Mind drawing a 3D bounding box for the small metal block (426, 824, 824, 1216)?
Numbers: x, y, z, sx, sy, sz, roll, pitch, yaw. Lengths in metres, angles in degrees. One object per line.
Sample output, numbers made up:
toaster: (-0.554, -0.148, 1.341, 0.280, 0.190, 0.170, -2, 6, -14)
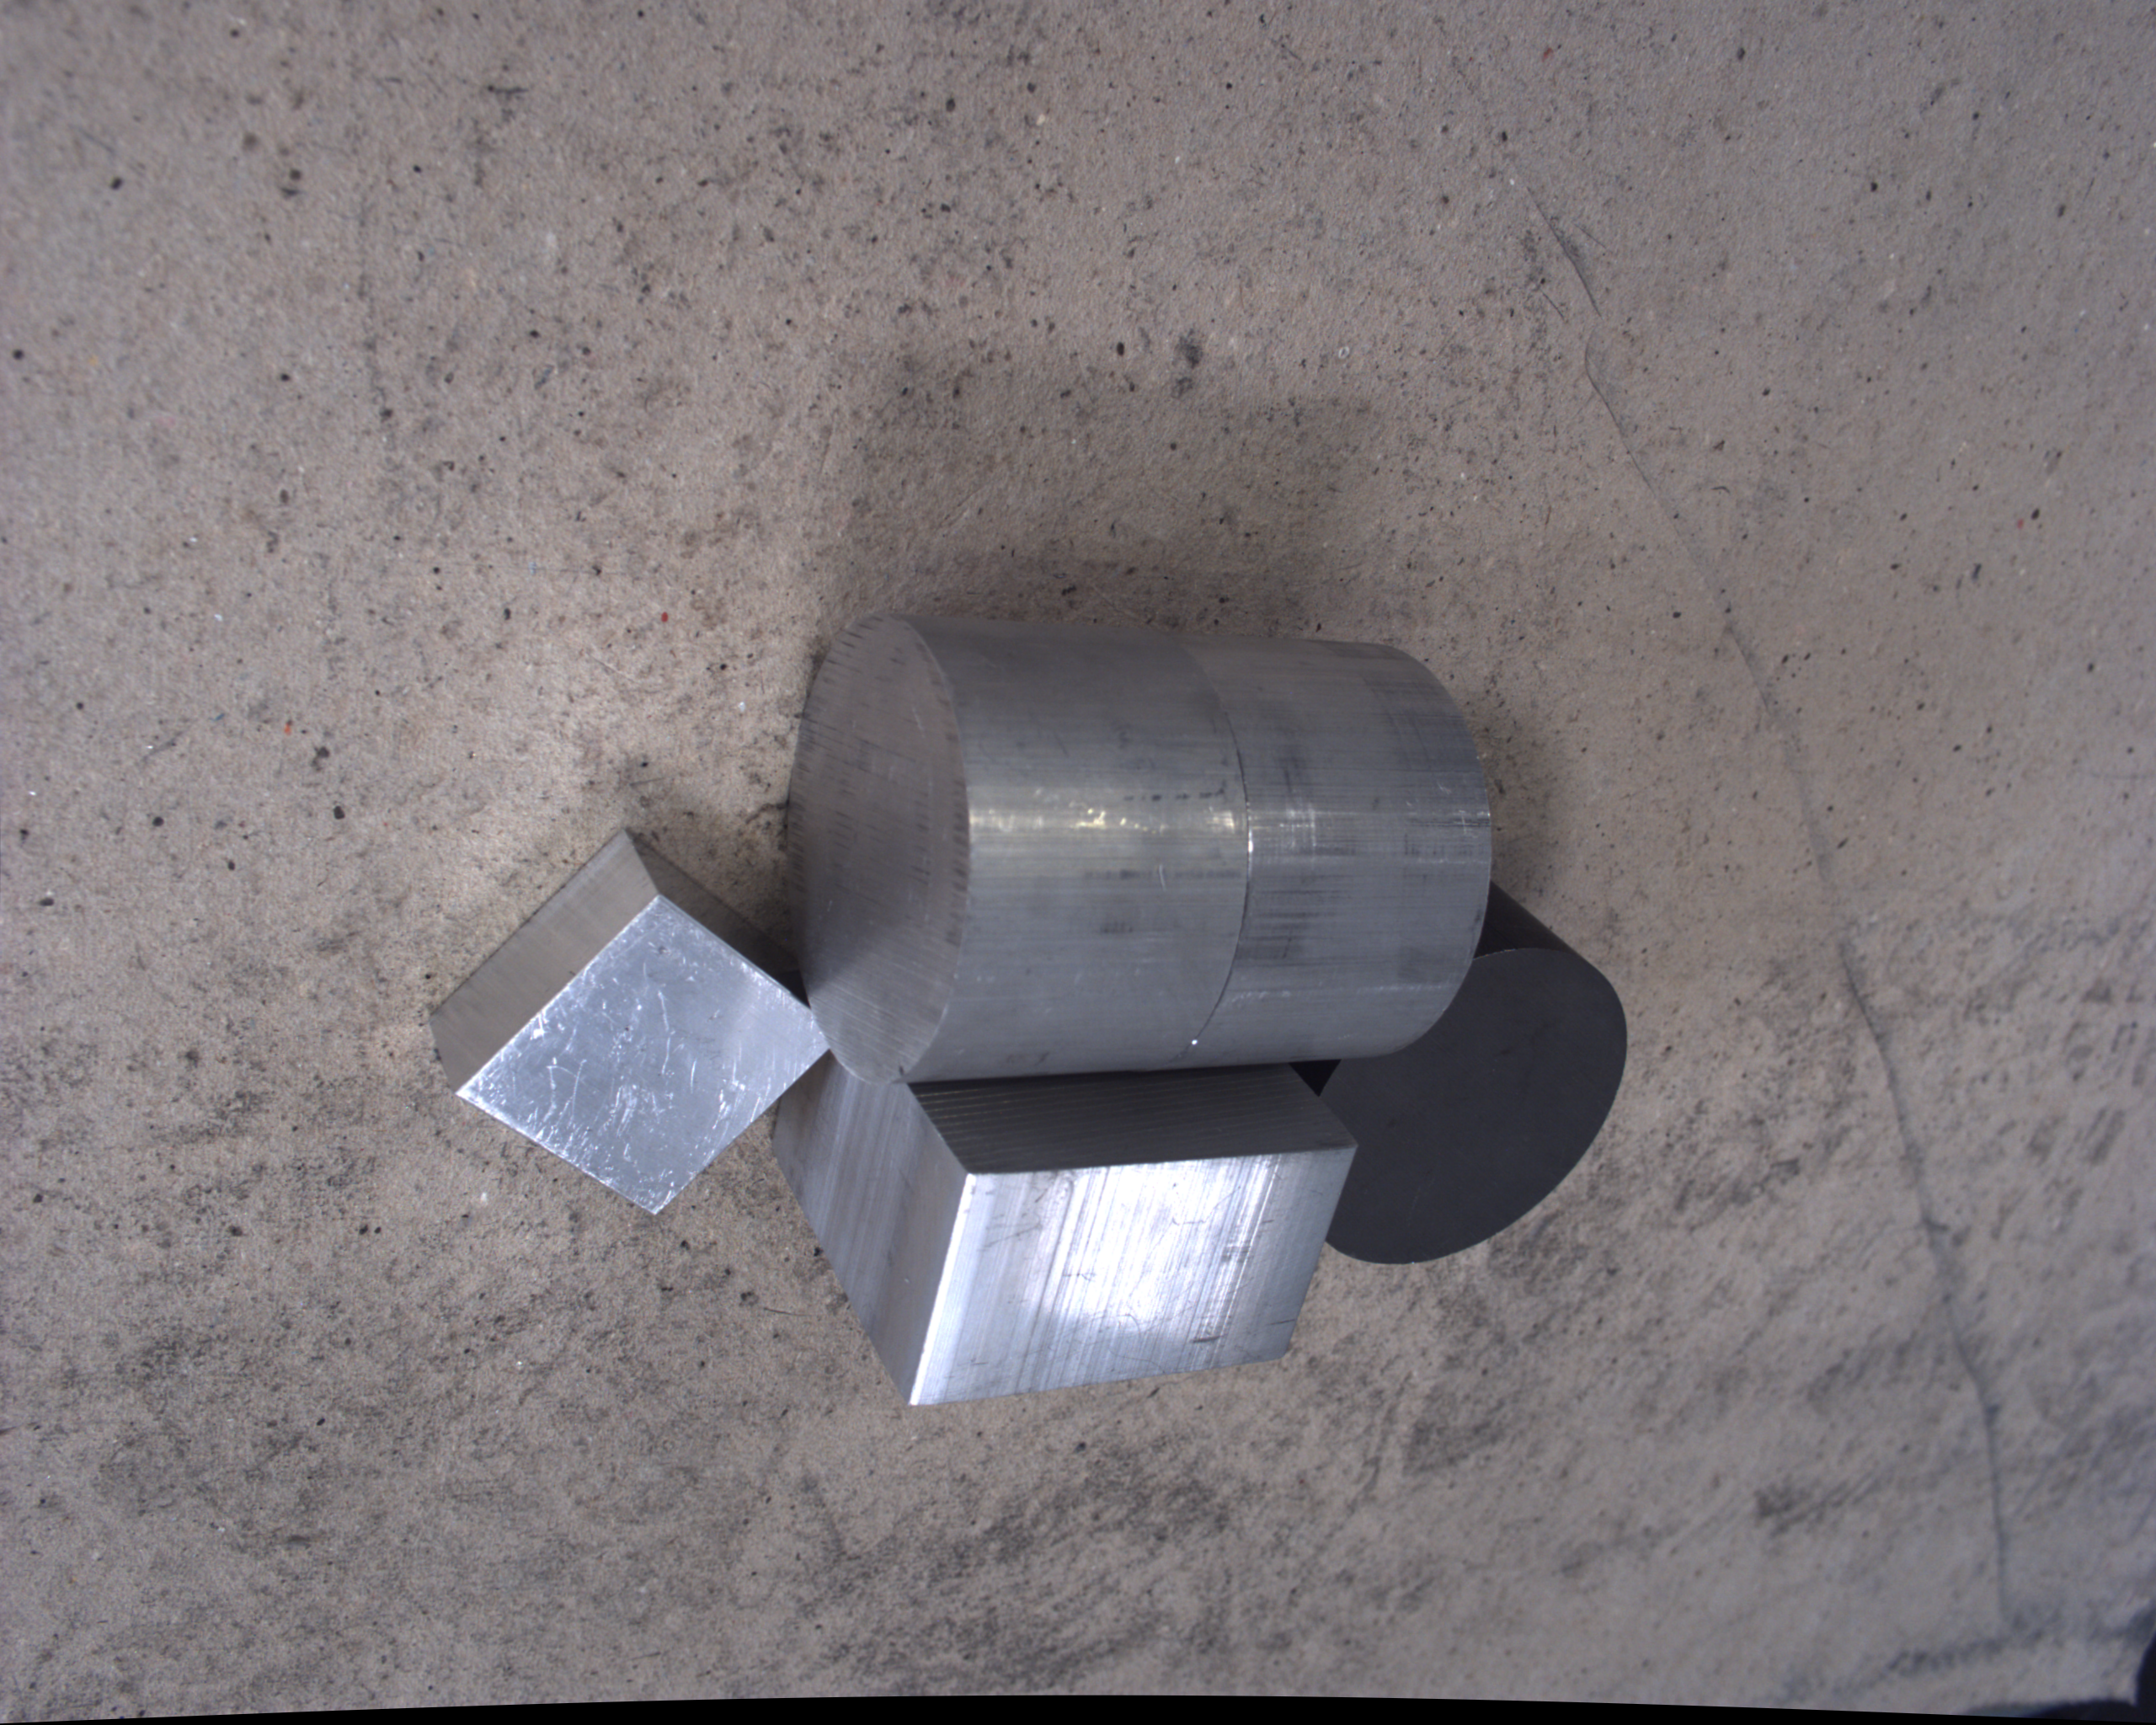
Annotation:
small metal block: (-0.081, 0.030, 0.383, 0.050, 0.025, 0.050, -44, 129, 2)

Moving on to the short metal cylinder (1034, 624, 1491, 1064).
short metal cylinder: (0.031, -0.003, 0.388, 0.050, 0.080, 0.079, 1, 118, -29)

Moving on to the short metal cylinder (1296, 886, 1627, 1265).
short metal cylinder: (0.071, 0.040, 0.456, 0.081, 0.050, 0.079, -14, 124, -21)

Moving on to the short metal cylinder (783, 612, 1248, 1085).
short metal cylinder: (-0.013, -0.002, 0.365, 0.050, 0.080, 0.079, 1, 118, -29)

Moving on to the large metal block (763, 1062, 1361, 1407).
large metal block: (-0.006, 0.054, 0.404, 0.081, 0.080, 0.050, 1, 118, -29)
